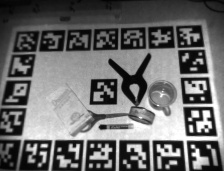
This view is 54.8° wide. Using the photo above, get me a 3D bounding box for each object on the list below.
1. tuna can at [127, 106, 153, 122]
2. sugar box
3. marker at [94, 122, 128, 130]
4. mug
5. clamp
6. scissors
[{"bbox_3d":[0.094,0.095,0.728,0.085,0.086,0.034,14,73,10],"label":"tuna can"},{"bbox_3d":[-0.157,0.079,0.770,0.093,0.045,0.175,-36,66,-8],"label":"sugar box"},{"bbox_3d":[-0.004,0.141,0.755,0.121,0.020,0.019,-5,72,4],"label":"marker"},{"bbox_3d":[0.154,0.044,0.745,0.093,0.082,0.116,-27,67,-4],"label":"mug"},{"bbox_3d":[0.068,-0.029,0.809,0.165,0.037,0.202,-11,72,1],"label":"clamp"},{"bbox_3d":[-0.050,0.103,0.770,0.203,0.016,0.087,-11,67,-1],"label":"scissors"}]
